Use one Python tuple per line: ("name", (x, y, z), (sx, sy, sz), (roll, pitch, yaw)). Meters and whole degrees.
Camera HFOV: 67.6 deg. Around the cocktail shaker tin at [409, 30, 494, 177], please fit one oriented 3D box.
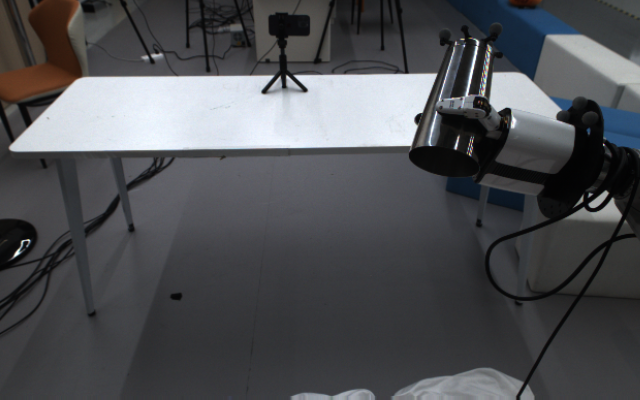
("cocktail shaker tin", (0.185, -0.128, 0.648), (0.093, 0.093, 0.170), (13, 74, 15))
